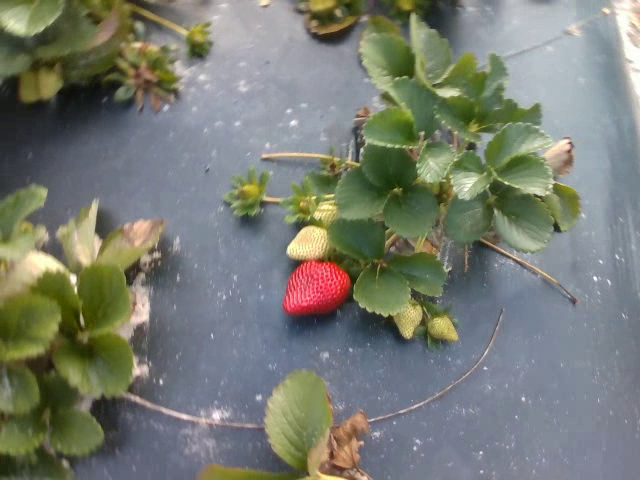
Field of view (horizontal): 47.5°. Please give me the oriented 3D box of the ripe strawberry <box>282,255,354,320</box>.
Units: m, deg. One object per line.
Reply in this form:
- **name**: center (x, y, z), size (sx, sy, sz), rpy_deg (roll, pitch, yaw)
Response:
- **ripe strawberry**: center (-0.012, 0.039, 0.546), size (0.051, 0.048, 0.055), rpy_deg (11, 26, 42)
